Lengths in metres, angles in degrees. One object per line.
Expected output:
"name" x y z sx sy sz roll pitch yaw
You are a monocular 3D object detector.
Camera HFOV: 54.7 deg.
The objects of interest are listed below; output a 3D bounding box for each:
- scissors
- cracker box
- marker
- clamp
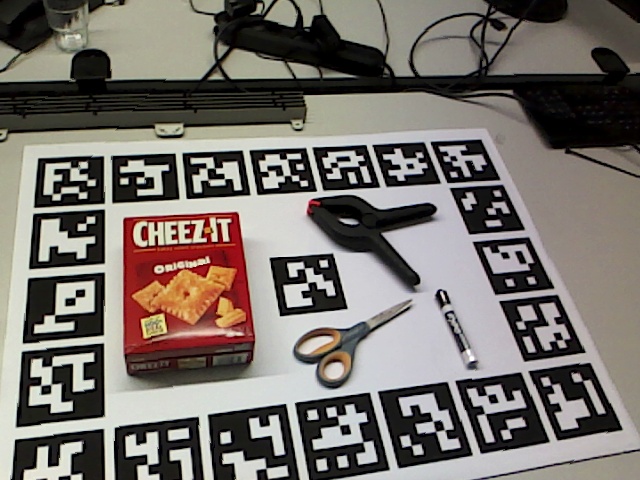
"scissors" 0.061 0.128 0.888 0.202 0.016 0.088 -30 61 -30
"cracker box" -0.177 0.067 0.866 0.164 0.072 0.214 -4 53 -12
"marker" 0.201 0.120 0.915 0.019 0.019 0.121 -8 54 -14
"clamp" 0.073 -0.022 1.012 0.203 0.036 0.165 20 51 6
